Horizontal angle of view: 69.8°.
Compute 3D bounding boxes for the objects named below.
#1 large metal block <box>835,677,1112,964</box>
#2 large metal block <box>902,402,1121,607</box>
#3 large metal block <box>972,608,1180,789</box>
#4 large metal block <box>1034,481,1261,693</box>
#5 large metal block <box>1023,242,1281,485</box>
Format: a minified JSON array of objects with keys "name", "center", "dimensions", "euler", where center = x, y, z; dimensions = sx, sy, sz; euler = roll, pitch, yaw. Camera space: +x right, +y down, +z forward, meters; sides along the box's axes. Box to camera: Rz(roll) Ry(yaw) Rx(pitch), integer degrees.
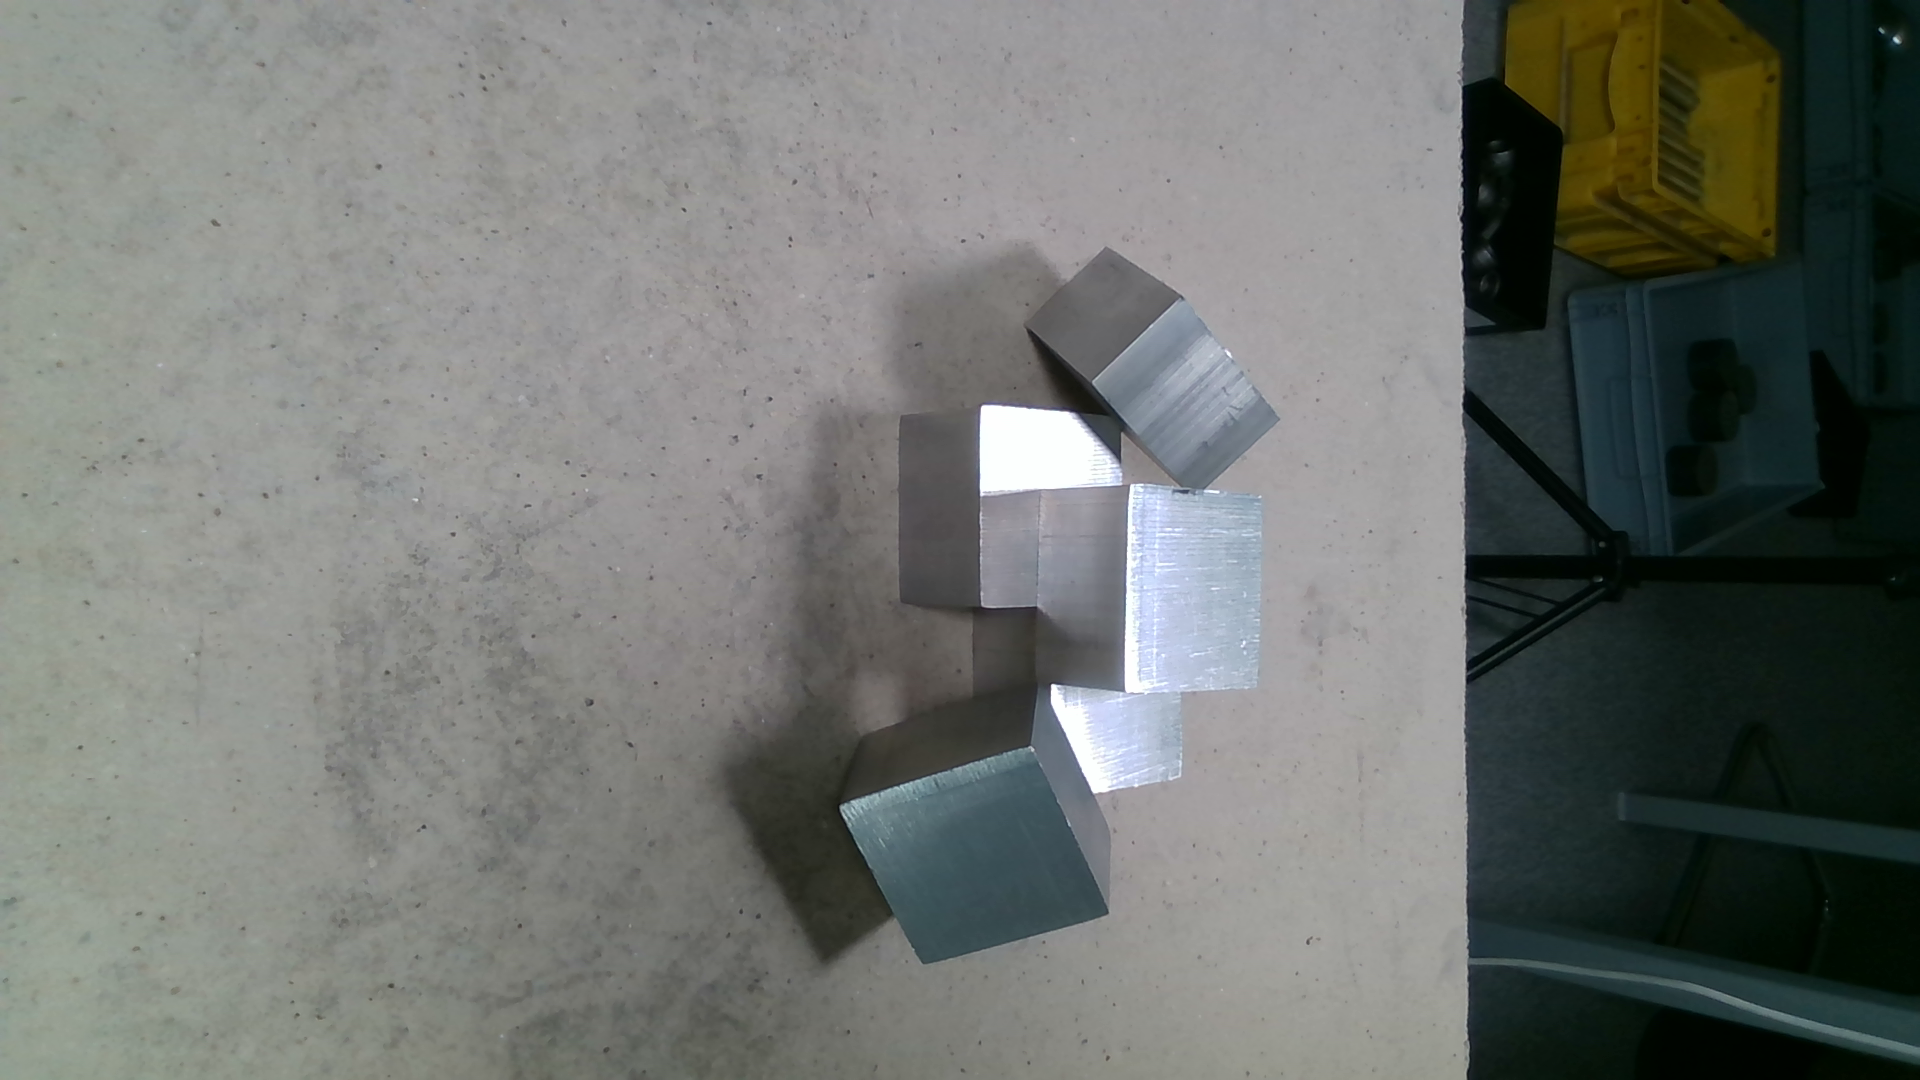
[{"name":"large metal block","center":[0.008,0.111,0.546],"dimensions":[0.050,0.080,0.080],"euler":[-74,142,-65]},{"name":"large metal block","center":[0.022,-0.014,0.583],"dimensions":[0.080,0.050,0.080],"euler":[0,90,-40]},{"name":"large metal block","center":[0.052,0.066,0.612],"dimensions":[0.080,0.050,0.080],"euler":[0,90,-40]},{"name":"large metal block","center":[0.078,0.019,0.564],"dimensions":[0.080,0.050,0.080],"euler":[3,88,-40]},{"name":"large metal block","center":[0.083,-0.076,0.609],"dimensions":[0.050,0.080,0.080],"euler":[-43,122,6]}]
